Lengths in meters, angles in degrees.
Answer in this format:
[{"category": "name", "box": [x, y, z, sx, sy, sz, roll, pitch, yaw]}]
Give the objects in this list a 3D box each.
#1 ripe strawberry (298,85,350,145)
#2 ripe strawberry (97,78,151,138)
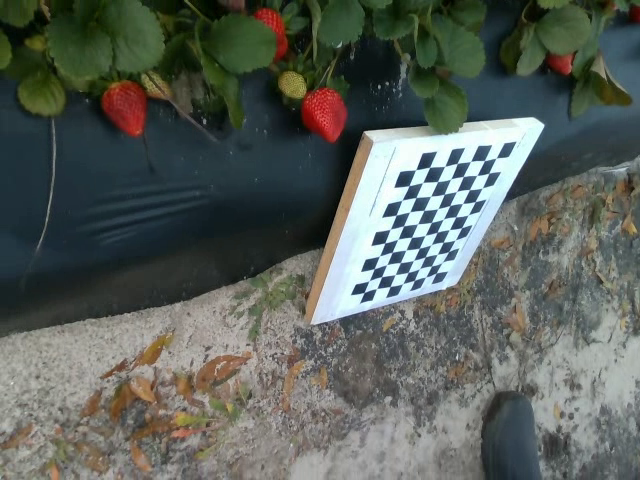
[{"category": "ripe strawberry", "box": [0.006, -0.122, 0.620, 0.057, 0.065, 0.056, -23, -34, 9]}, {"category": "ripe strawberry", "box": [-0.161, -0.110, 0.512, 0.043, 0.052, 0.041, -21, 5, -15]}]
